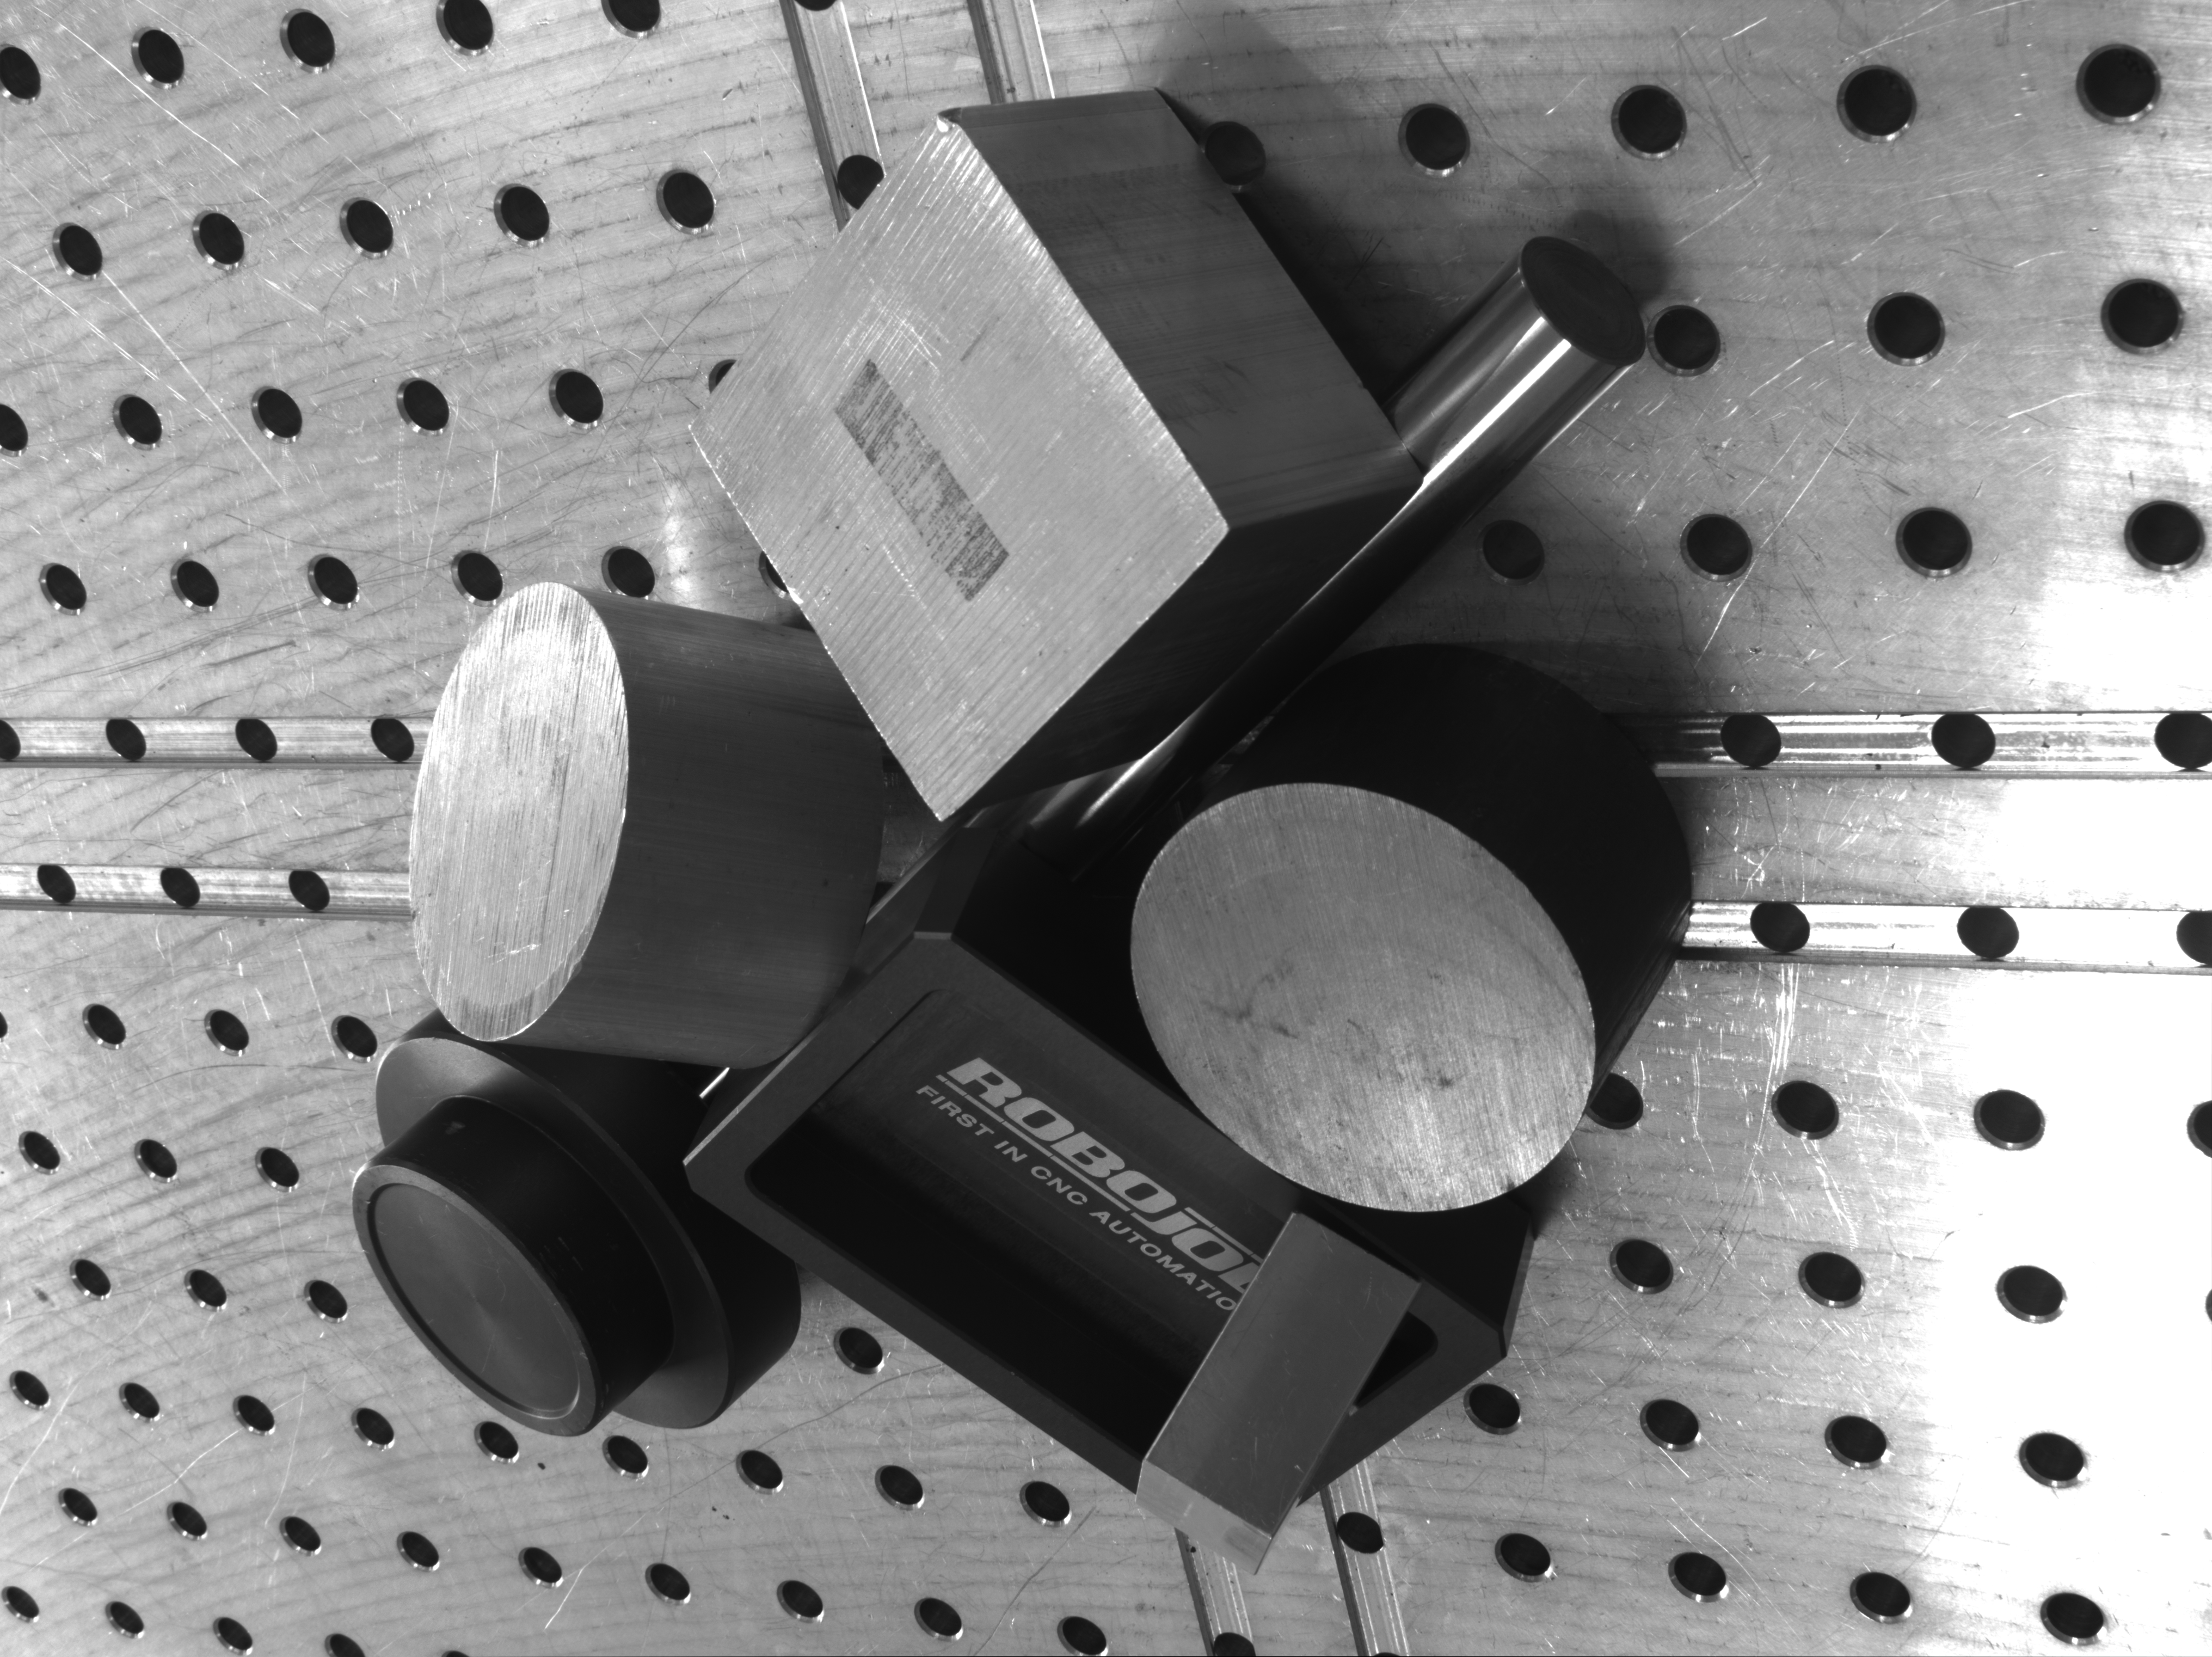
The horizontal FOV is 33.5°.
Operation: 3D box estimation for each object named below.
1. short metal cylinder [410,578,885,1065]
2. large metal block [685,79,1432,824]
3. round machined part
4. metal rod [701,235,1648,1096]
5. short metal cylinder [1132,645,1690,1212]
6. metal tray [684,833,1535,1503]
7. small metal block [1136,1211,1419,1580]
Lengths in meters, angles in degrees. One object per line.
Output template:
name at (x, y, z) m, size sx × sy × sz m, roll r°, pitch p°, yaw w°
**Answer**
short metal cylinder at (-0.082, 0.000, 0.647) m, size 0.080 × 0.050 × 0.080 m, roll -17°, pitch 69°, yaw 51°
large metal block at (-0.009, -0.060, 0.583) m, size 0.080 × 0.050 × 0.080 m, roll -43°, pitch 74°, yaw 39°
round machined part at (-0.111, 0.081, 0.727) m, size 0.098 × 0.042 × 0.098 m, roll 28°, pitch 140°, yaw 27°
metal rod at (-0.010, 0.000, 0.654) m, size 0.025 × 0.025 × 0.299 m, roll 44°, pitch 130°, yaw -2°
short metal cylinder at (0.051, 0.016, 0.612) m, size 0.080 × 0.050 × 0.080 m, roll 13°, pitch 124°, yaw 21°
metal tray at (0.001, 0.068, 0.666) m, size 0.130 × 0.030 × 0.090 m, roll 36°, pitch 130°, yaw -12°
small metal block at (0.029, 0.099, 0.637) m, size 0.025 × 0.050 × 0.050 m, roll 29°, pitch 163°, yaw 8°
